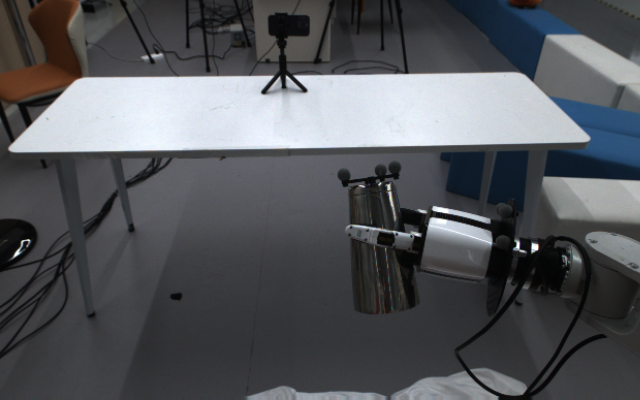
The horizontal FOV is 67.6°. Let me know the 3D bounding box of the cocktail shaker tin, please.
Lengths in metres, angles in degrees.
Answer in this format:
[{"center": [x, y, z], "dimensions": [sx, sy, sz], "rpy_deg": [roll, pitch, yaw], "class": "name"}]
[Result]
[{"center": [0.083, 0.063, 0.675], "dimensions": [0.093, 0.170, 0.093], "rpy_deg": [-8, 1, 0], "class": "cocktail shaker tin"}]
